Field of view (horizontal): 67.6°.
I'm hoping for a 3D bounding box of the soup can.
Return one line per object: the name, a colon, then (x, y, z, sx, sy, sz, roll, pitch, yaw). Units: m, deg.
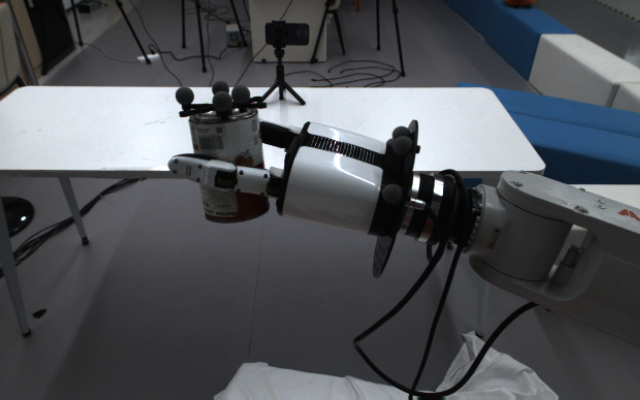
soup can: (-0.086, -0.037, 0.478, 0.067, 0.101, 0.067, -4, 21, 2)
